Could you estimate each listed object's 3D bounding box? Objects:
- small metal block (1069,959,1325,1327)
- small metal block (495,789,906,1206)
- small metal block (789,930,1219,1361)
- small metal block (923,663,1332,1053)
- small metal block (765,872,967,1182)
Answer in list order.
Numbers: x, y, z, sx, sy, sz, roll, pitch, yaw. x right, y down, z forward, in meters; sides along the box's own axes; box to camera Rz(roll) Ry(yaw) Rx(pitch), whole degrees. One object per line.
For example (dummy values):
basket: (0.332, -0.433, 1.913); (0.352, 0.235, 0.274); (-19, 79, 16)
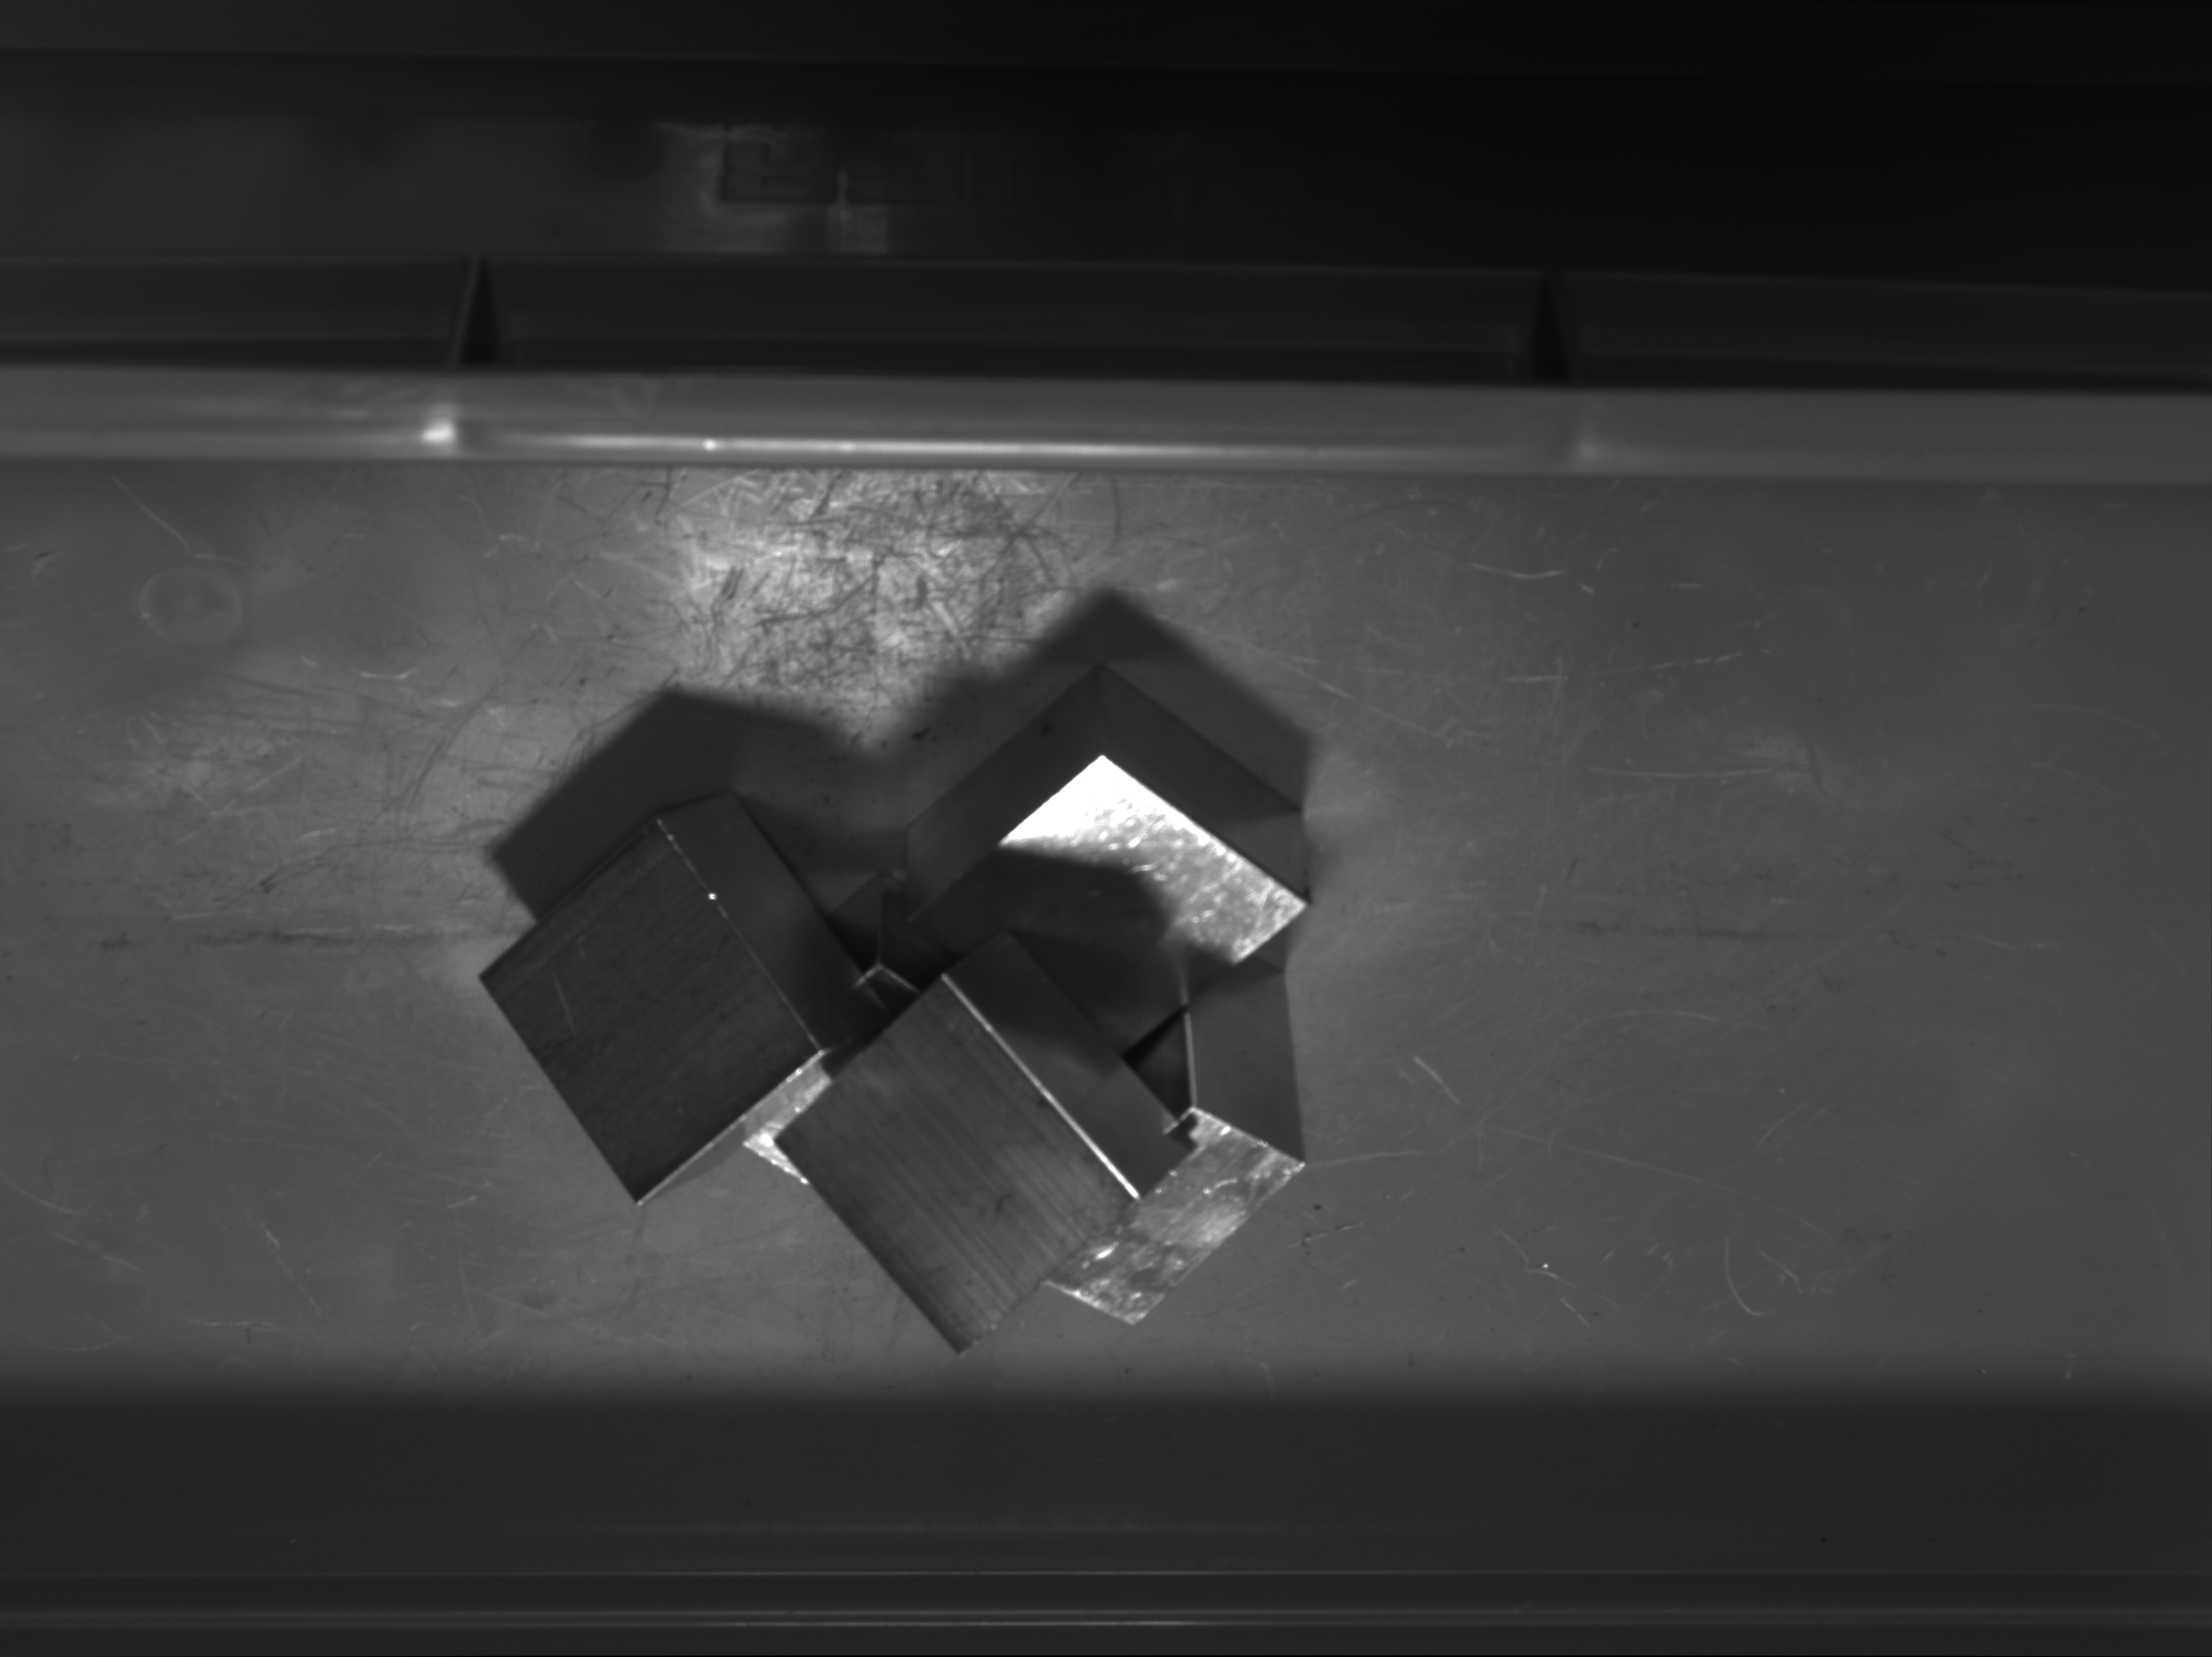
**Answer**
small metal block: (0.013, 0.053, 0.665); (0.025, 0.050, 0.050); (29, 123, -23)
small metal block: (-0.071, 0.030, 0.643); (0.050, 0.025, 0.050); (-40, 82, 27)
small metal block: (-0.018, 0.055, 0.634); (0.050, 0.025, 0.050); (48, 120, 5)
small metal block: (0.004, 0.007, 0.642); (0.050, 0.025, 0.050); (35, 121, -27)
small metal block: (-0.036, 0.043, 0.671); (0.050, 0.025, 0.050); (35, 121, -27)
